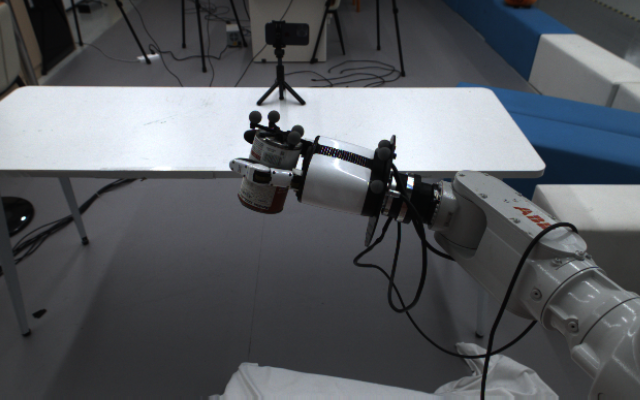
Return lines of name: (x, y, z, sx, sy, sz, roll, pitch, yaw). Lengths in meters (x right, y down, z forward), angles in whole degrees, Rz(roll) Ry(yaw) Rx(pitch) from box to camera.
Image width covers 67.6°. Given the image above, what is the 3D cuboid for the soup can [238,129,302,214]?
soup can: (-0.070, -0.040, 0.675, 0.067, 0.101, 0.067, 17, 21, -7)
